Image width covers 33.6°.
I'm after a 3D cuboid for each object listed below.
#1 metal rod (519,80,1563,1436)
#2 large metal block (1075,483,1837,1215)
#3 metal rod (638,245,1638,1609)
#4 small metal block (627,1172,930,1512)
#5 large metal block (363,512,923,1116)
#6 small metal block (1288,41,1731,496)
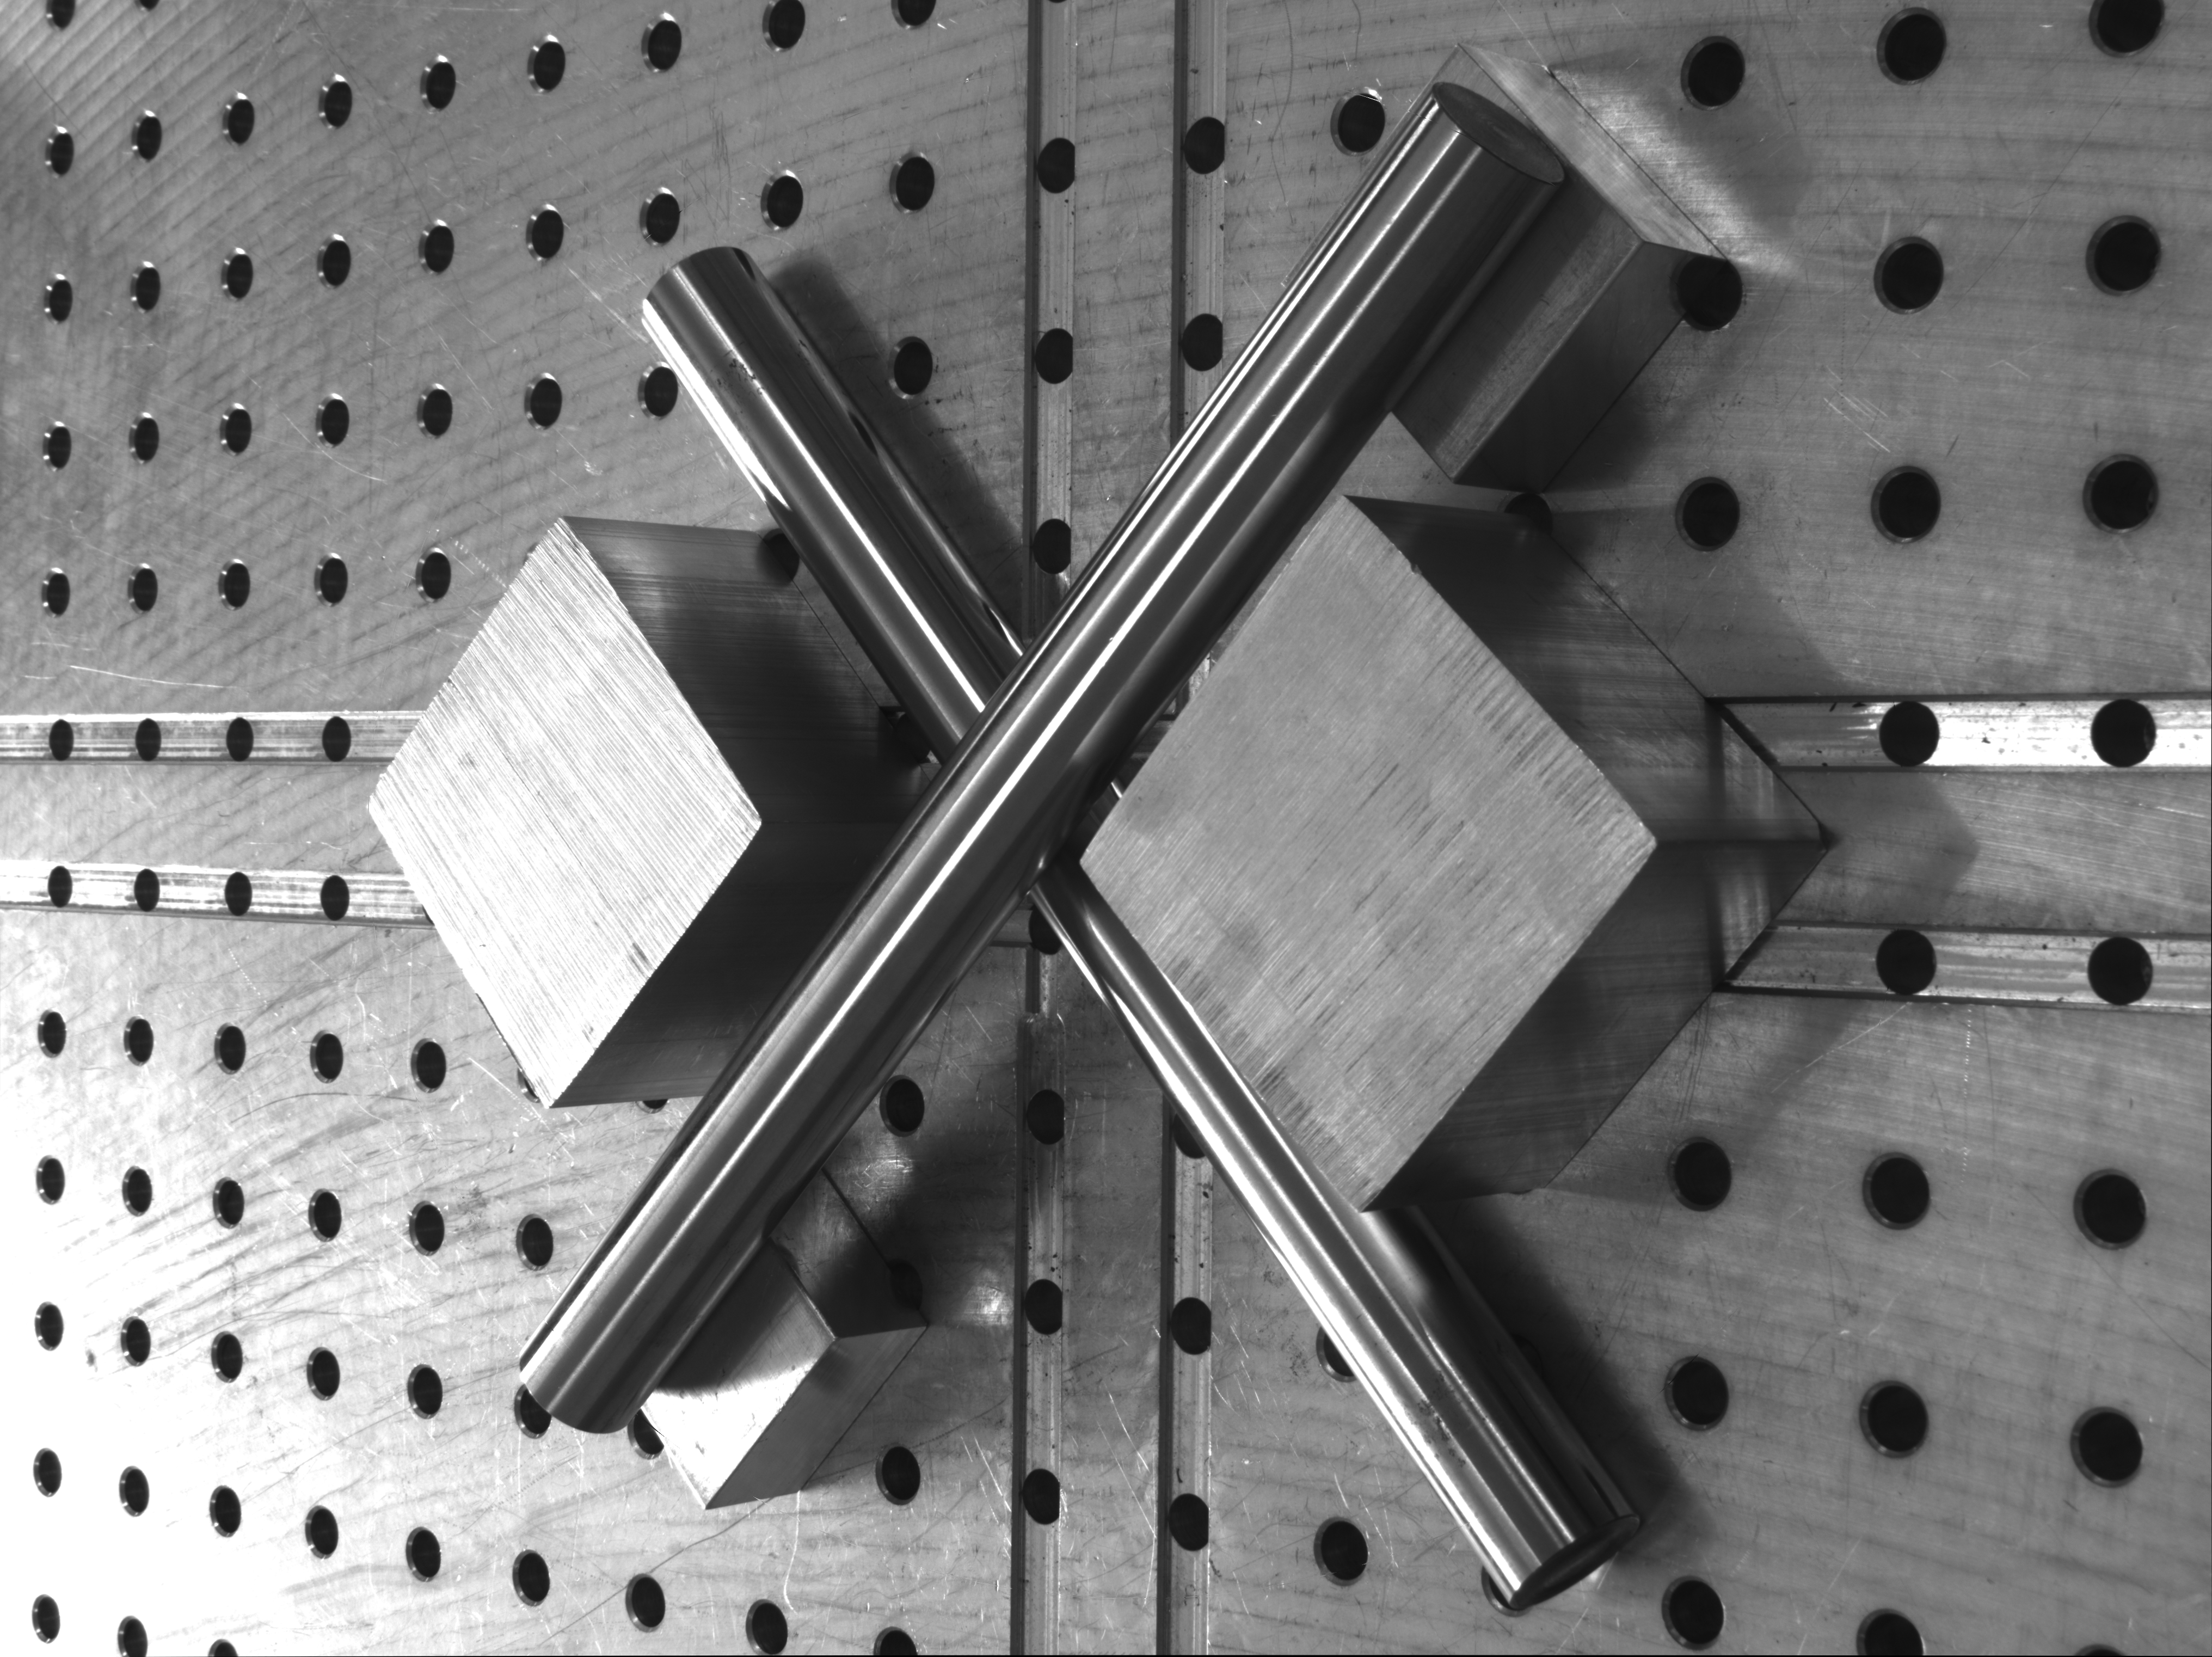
[{"bbox_3d":[-0.020,-0.001,0.632,0.025,0.025,0.299,52,121,27],"label":"metal rod"},{"bbox_3d":[0.054,0.003,0.586,0.080,0.050,0.080,51,120,28],"label":"large metal block"},{"bbox_3d":[-0.003,0.006,0.649,0.025,0.025,0.299,-50,60,28],"label":"metal rod"},{"bbox_3d":[-0.068,0.094,0.705,0.050,0.025,0.050,52,121,27],"label":"small metal block"},{"bbox_3d":[-0.087,-0.003,0.705,0.080,0.050,0.080,-51,60,28],"label":"large metal block"},{"bbox_3d":[0.064,-0.090,0.595,0.050,0.025,0.050,-52,59,27],"label":"small metal block"}]
